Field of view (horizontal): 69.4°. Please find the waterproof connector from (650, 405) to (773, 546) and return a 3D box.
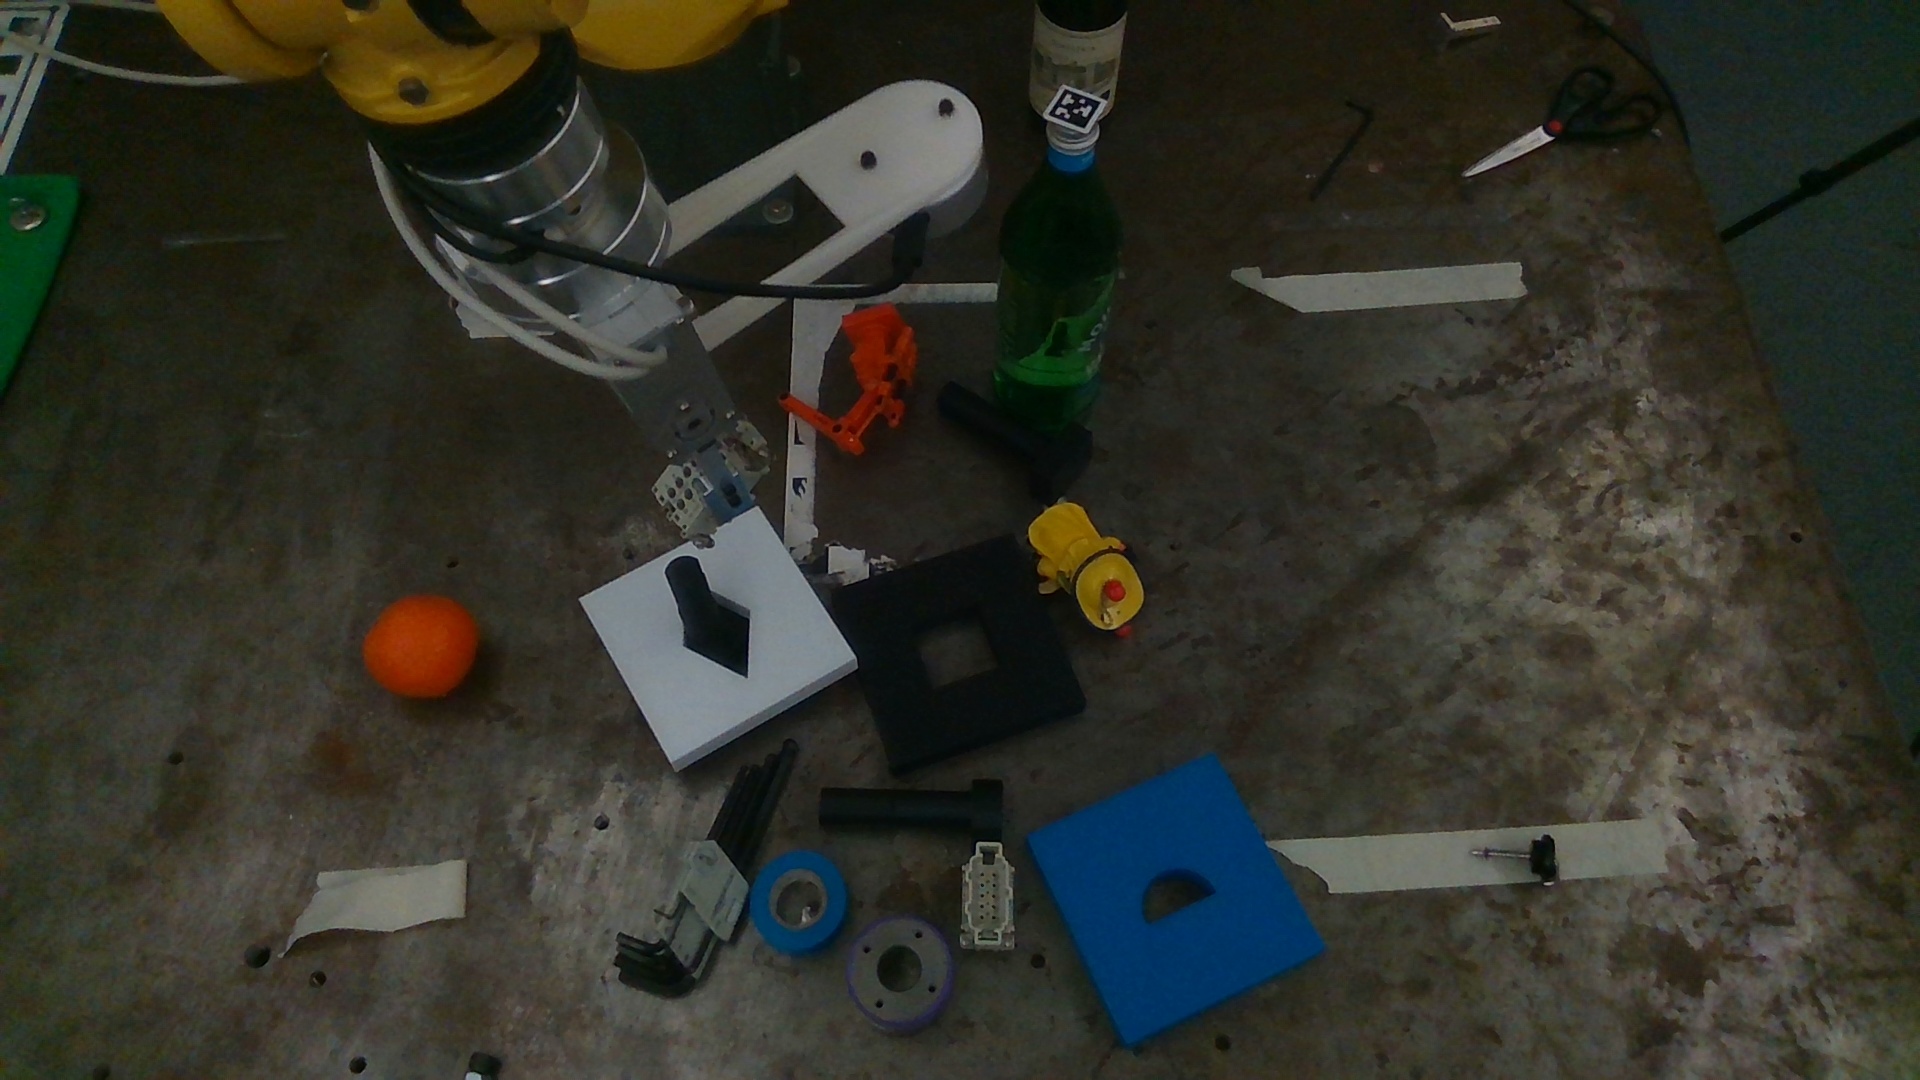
[{"bbox_3d":[-0.121,-0.031,0.687,0.037,0.038,0.069,47,111,25],"label":"waterproof connector"}]
